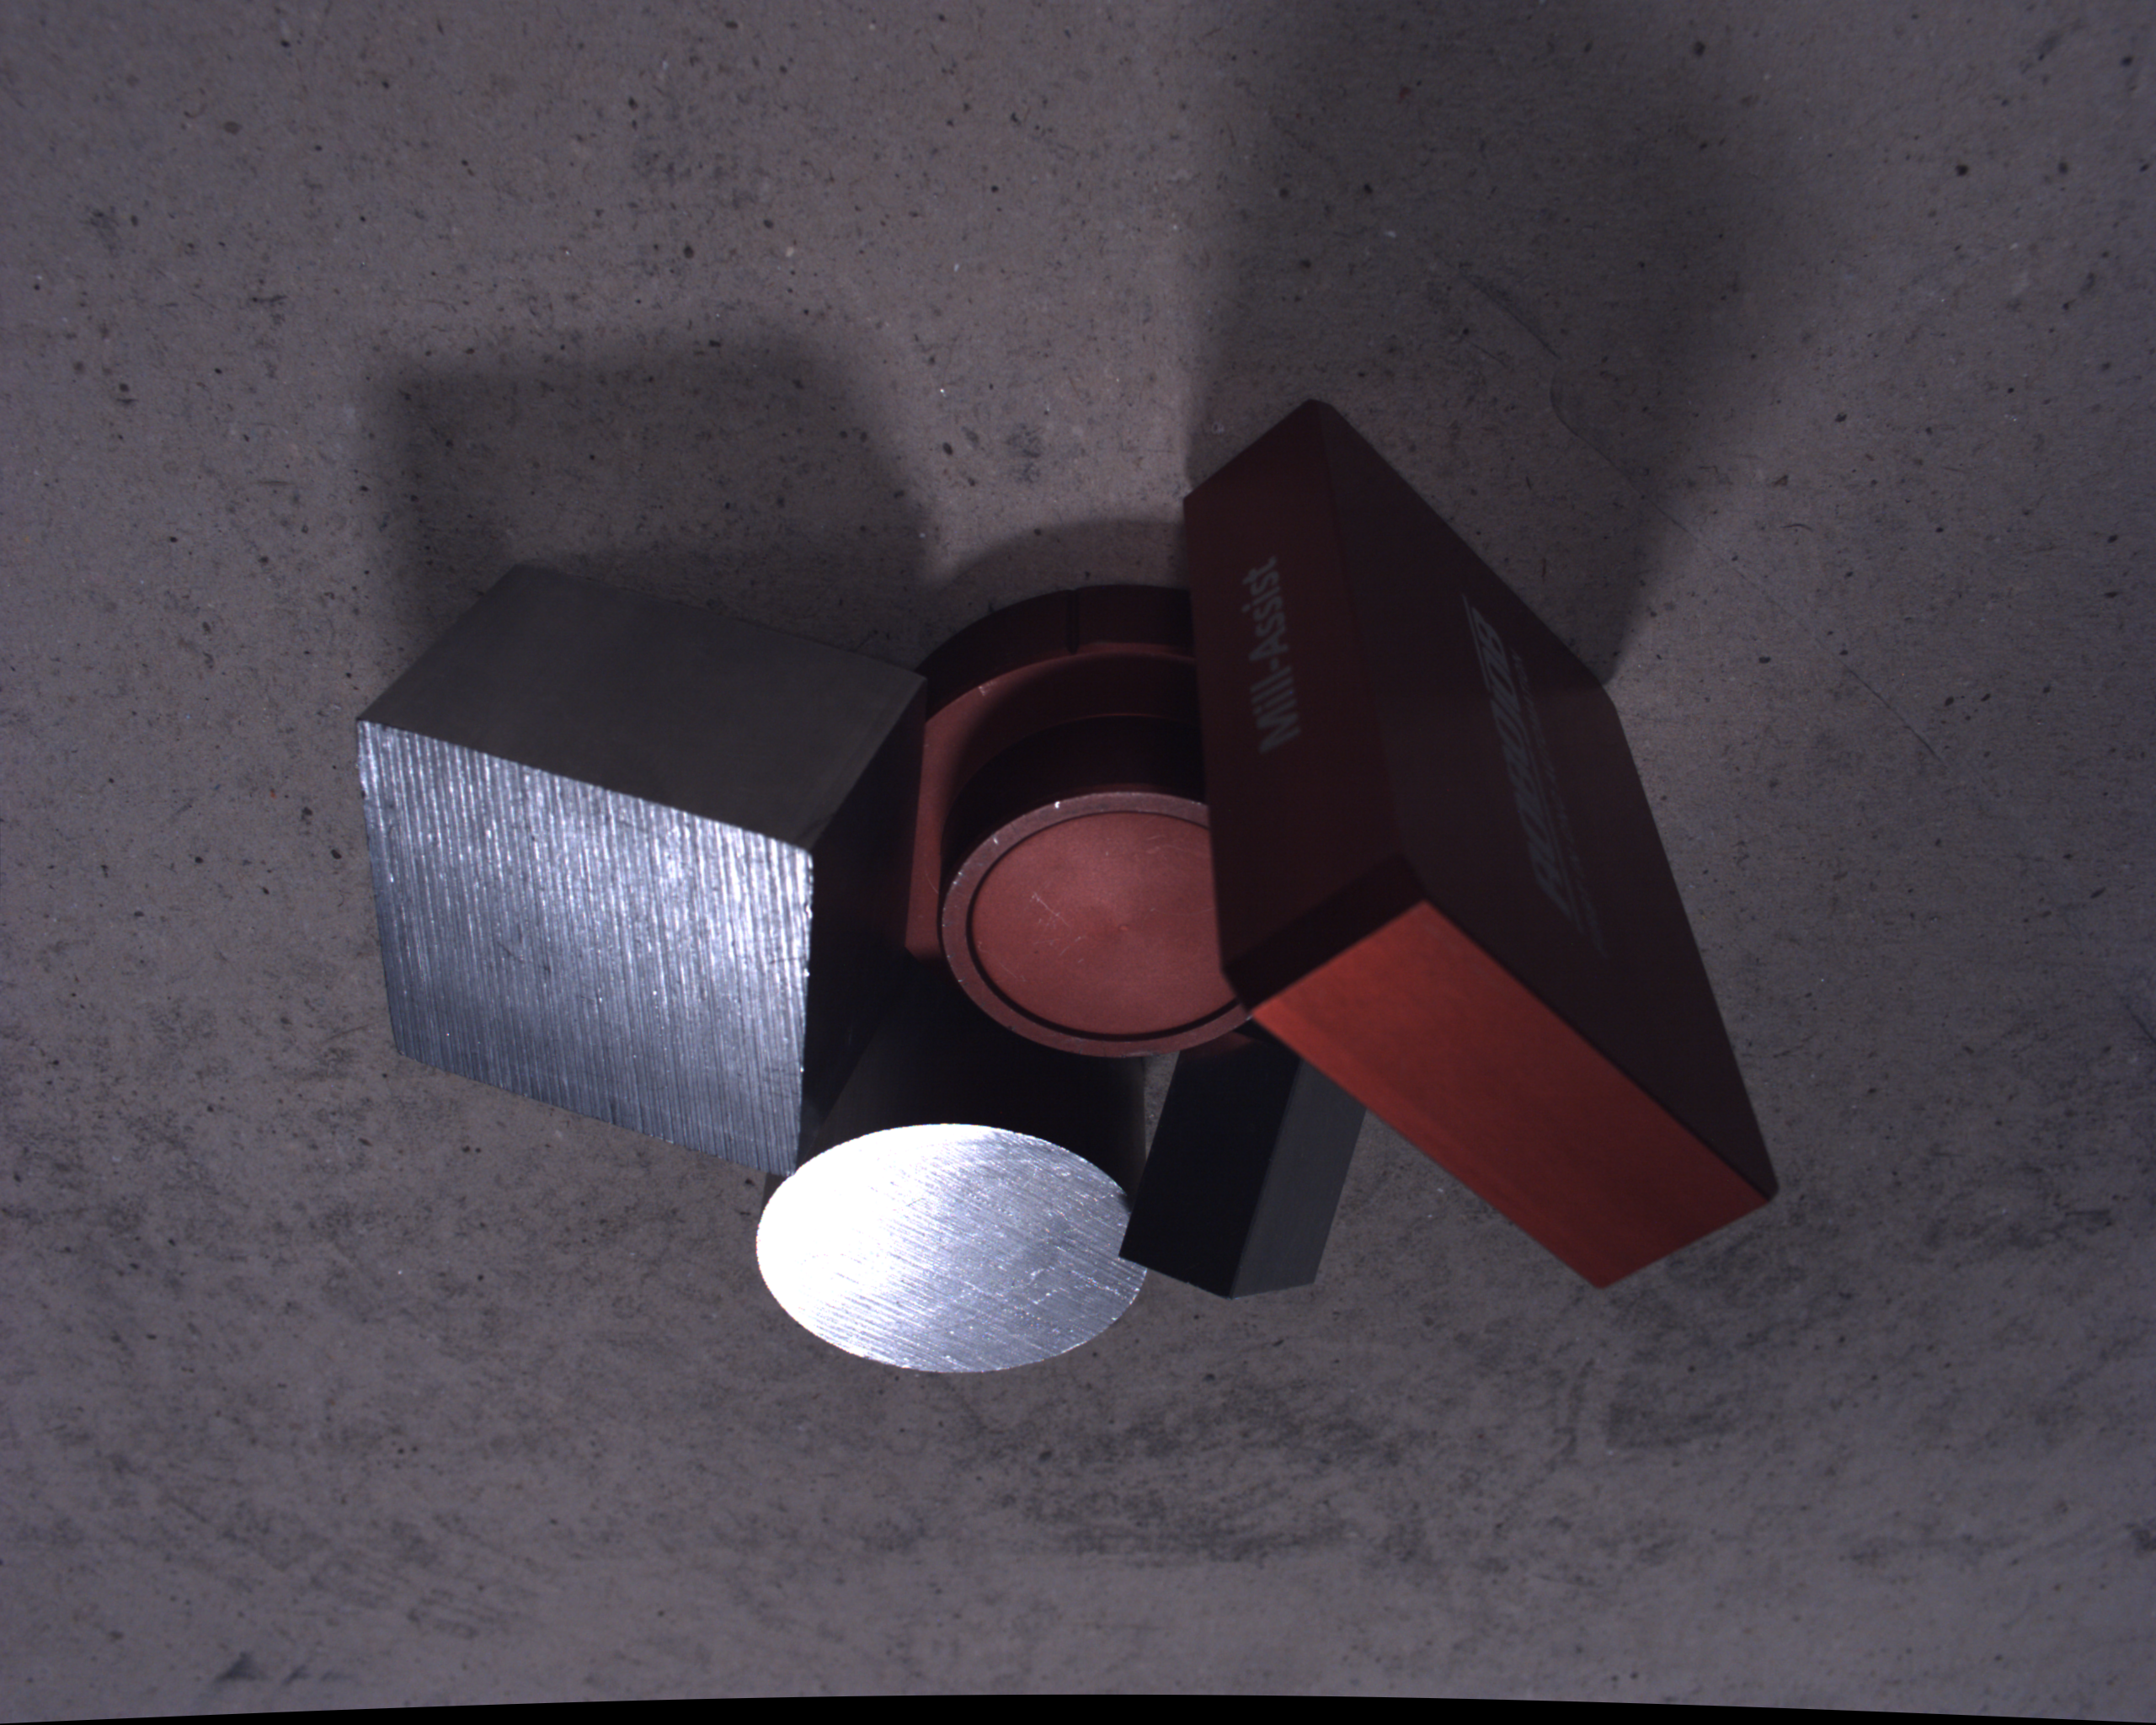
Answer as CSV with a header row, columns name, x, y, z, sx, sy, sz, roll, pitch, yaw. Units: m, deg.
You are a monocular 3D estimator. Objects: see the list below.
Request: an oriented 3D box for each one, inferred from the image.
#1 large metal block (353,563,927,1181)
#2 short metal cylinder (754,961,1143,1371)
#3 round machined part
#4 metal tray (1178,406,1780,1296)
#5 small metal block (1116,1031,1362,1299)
name,x,y,z,sx,sy,sz,roll,pitch,yaw
large metal block,-0.077,0.002,0.376,0.080,0.050,0.079,16,130,8
short metal cylinder,-0.026,0.064,0.447,0.081,0.050,0.079,0,130,0
round machined part,0.008,-0.002,0.397,0.099,0.042,0.097,-1,130,0
metal tray,0.060,-0.007,0.333,0.030,0.130,0.090,-37,121,26
small metal block,0.036,0.060,0.430,0.025,0.050,0.050,17,180,26
